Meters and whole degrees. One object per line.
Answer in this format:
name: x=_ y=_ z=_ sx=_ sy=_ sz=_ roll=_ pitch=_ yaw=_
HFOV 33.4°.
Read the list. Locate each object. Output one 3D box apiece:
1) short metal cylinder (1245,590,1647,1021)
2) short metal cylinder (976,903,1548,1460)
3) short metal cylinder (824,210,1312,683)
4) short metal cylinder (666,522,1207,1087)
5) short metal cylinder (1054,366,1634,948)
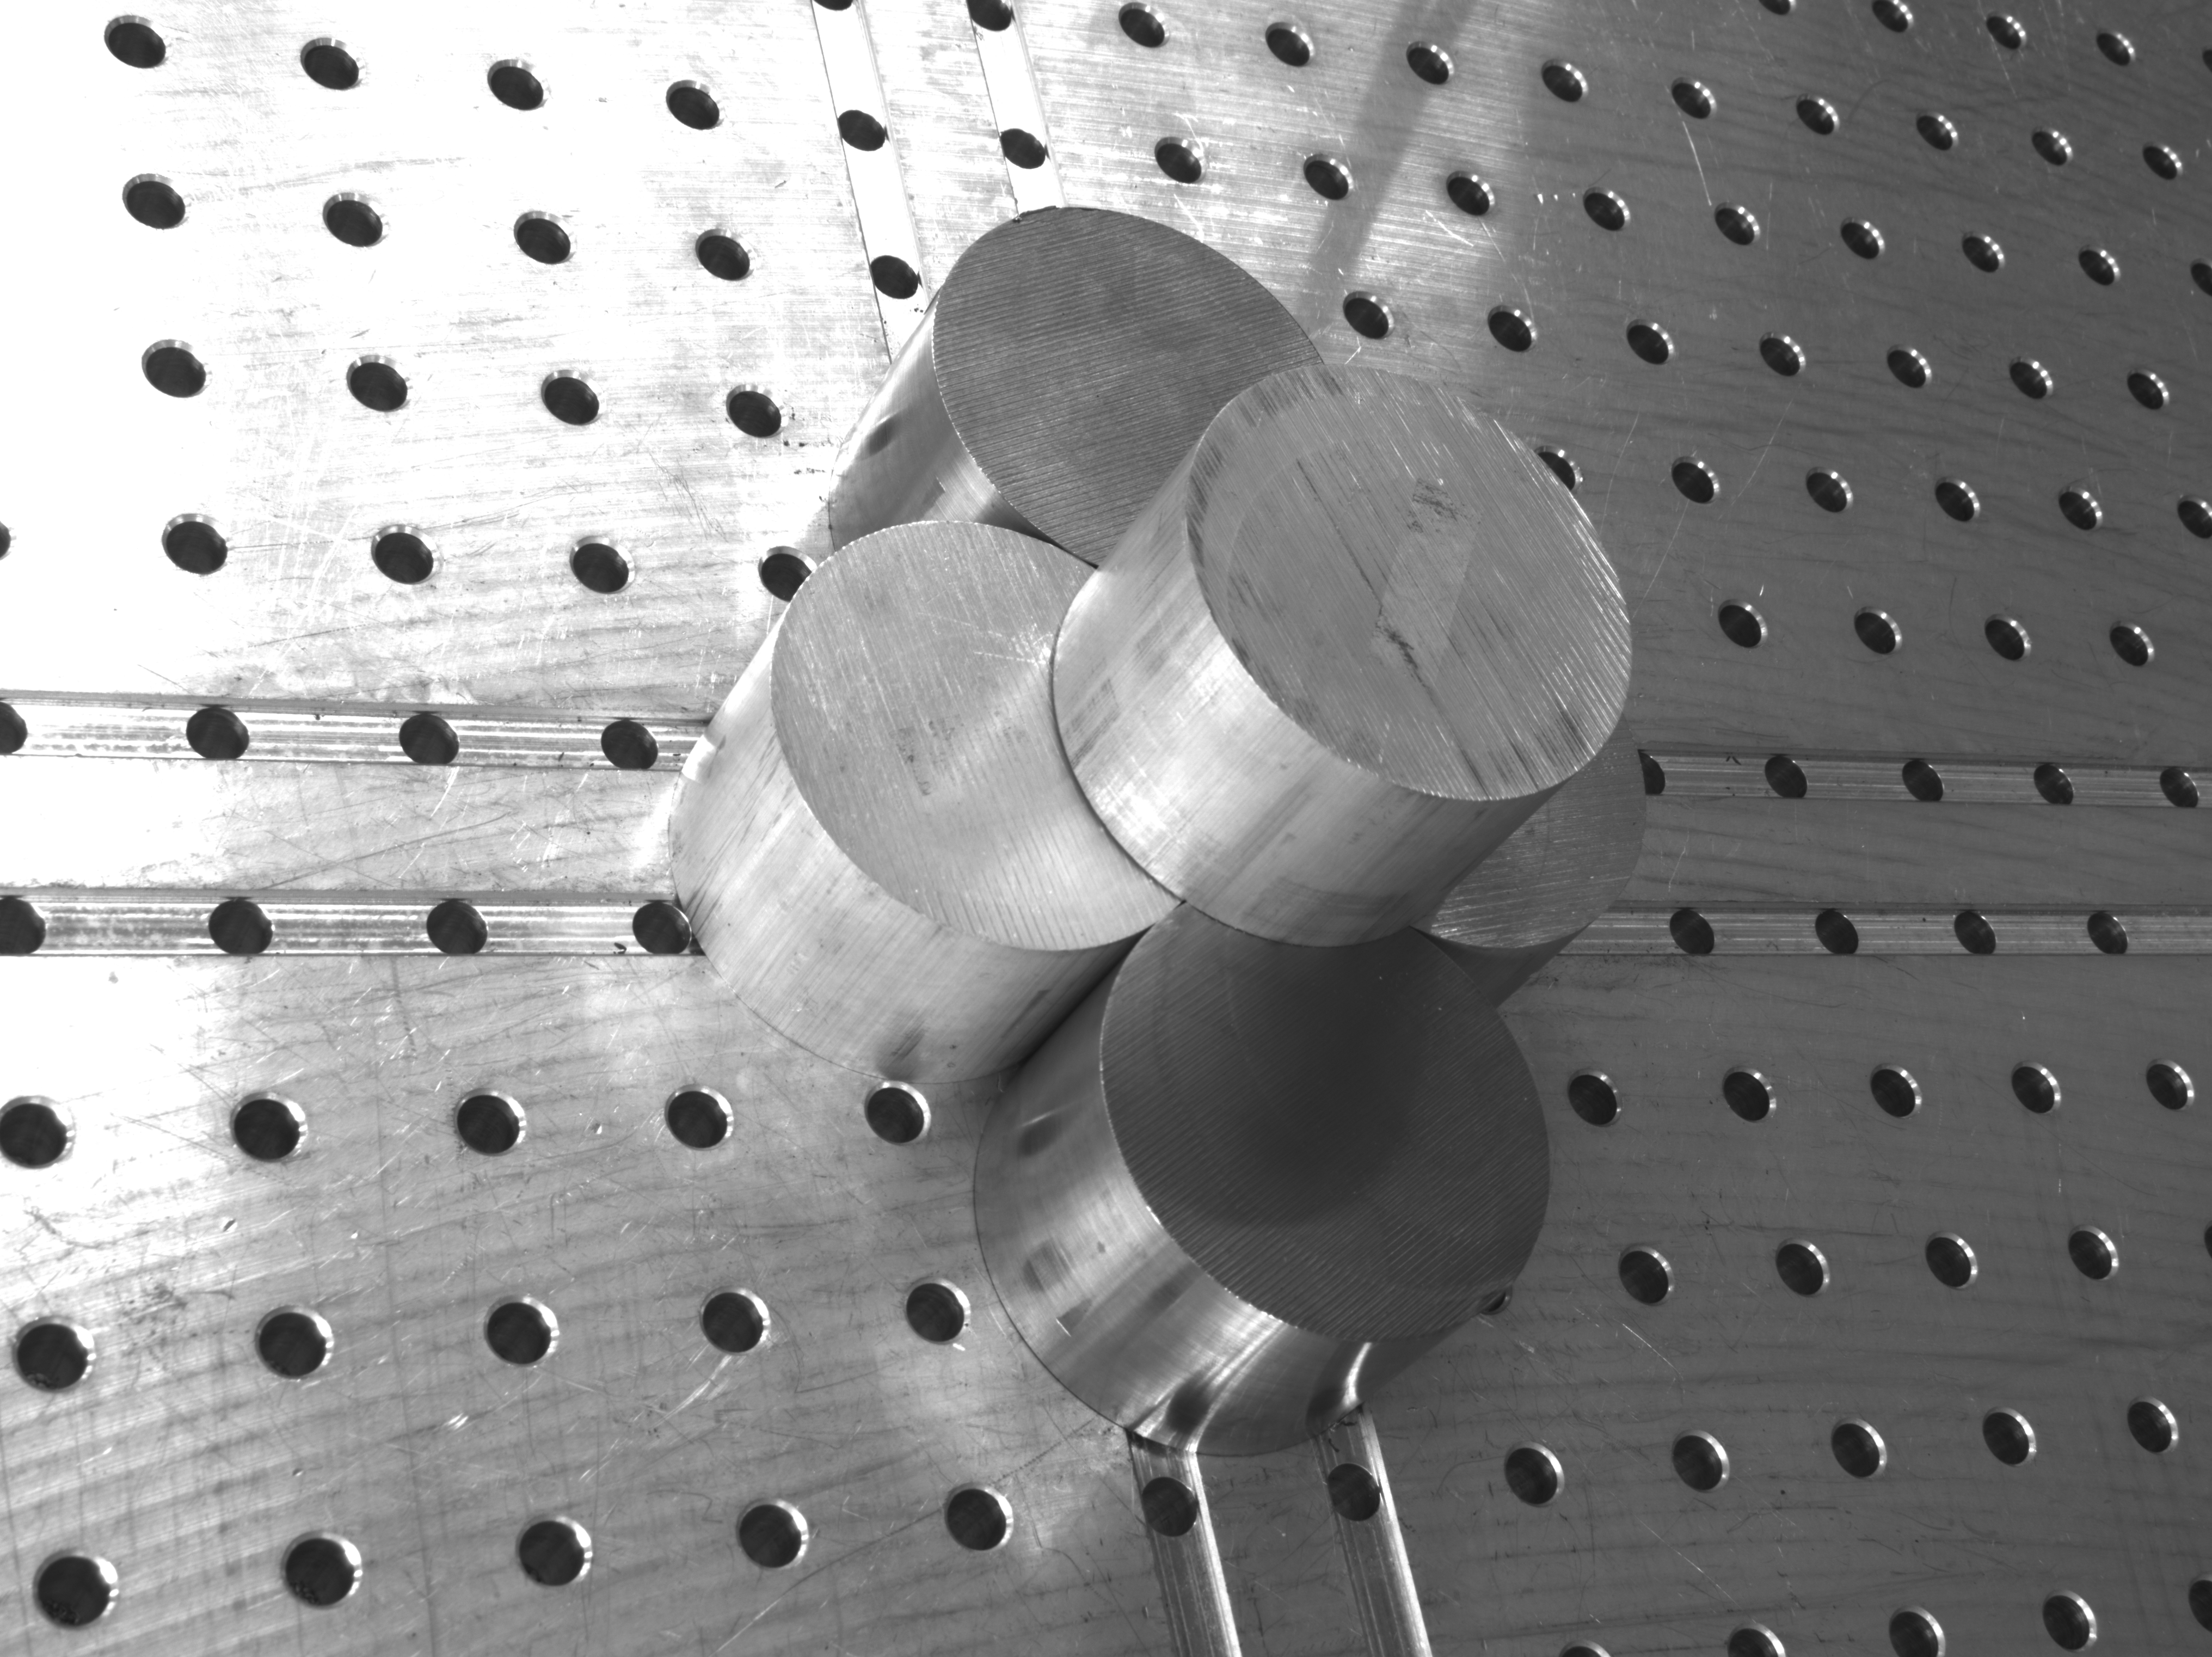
short metal cylinder: x=0.048 y=-0.003 z=0.654 sx=0.080 sy=0.050 sz=0.080 roll=13 pitch=56 yaw=-21
short metal cylinder: x=0.025 y=0.057 z=0.605 sx=0.080 sy=0.050 sz=0.080 roll=14 pitch=54 yaw=-20
short metal cylinder: x=-0.004 y=-0.064 z=0.663 sx=0.080 sy=0.050 sz=0.080 roll=14 pitch=56 yaw=-21
short metal cylinder: x=-0.027 y=-0.004 z=0.615 sx=0.080 sy=0.050 sz=0.080 roll=13 pitch=56 yaw=-21
short metal cylinder: x=0.038 y=-0.028 z=0.599 sx=0.080 sy=0.050 sz=0.080 roll=13 pitch=56 yaw=-21
